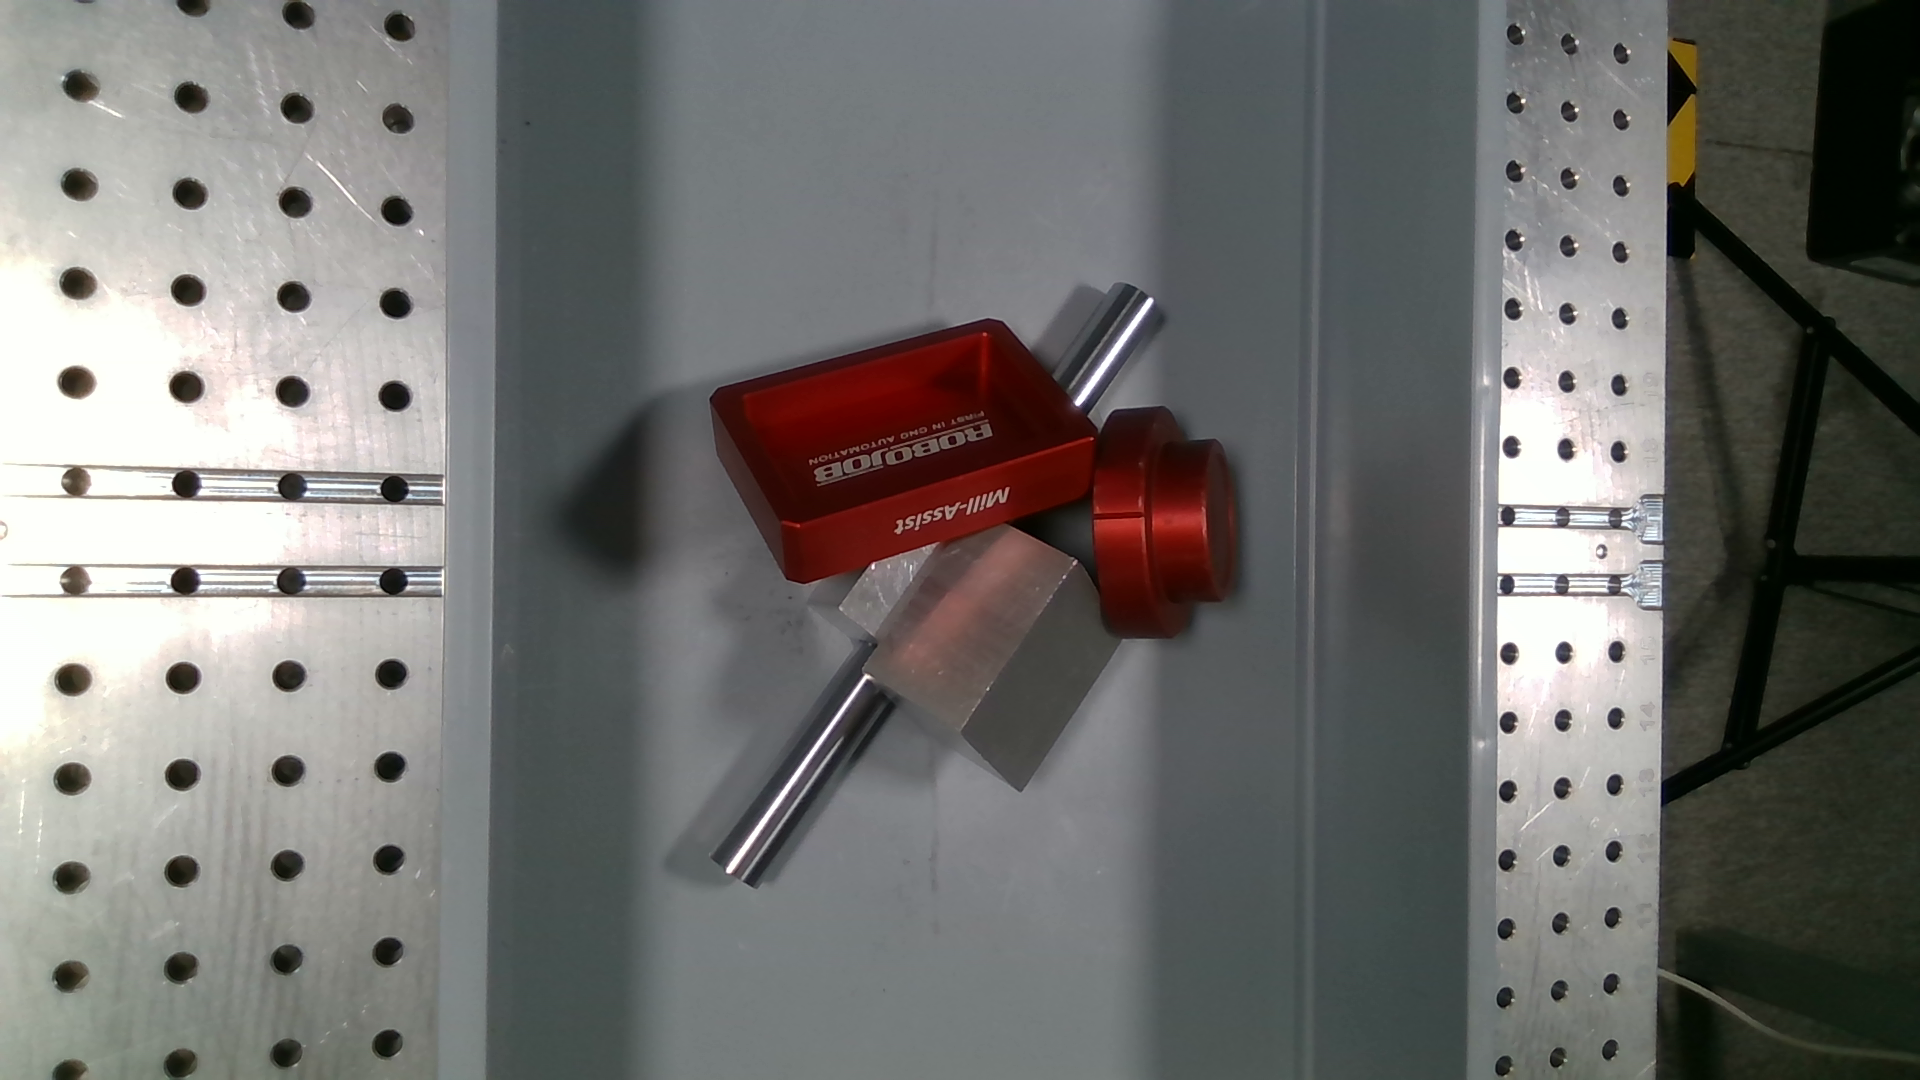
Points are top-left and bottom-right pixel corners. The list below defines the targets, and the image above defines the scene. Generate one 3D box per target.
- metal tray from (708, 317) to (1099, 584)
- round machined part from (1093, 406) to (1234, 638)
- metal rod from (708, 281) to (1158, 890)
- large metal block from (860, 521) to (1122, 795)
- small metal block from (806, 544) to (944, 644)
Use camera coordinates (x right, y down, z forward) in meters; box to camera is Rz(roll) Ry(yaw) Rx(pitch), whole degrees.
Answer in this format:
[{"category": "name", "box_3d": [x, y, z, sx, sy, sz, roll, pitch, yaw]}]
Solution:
[{"category": "metal tray", "box_3d": [-0.023, -0.039, 0.543, 0.130, 0.090, 0.030, -18, 136, -20]}, {"category": "round machined part", "box_3d": [0.088, -0.007, 0.577, 0.042, 0.098, 0.098, -1, 91, 20]}, {"category": "metal rod", "box_3d": [-0.007, 0.013, 0.582, 0.025, 0.025, 0.300, 39, 78, -16]}, {"category": "large metal block", "box_3d": [0.016, 0.046, 0.557, 0.080, 0.050, 0.080, -55, 149, -12]}, {"category": "small metal block", "box_3d": [-0.032, 0.015, 0.559, 0.025, 0.050, 0.050, 40, 77, -16]}]
